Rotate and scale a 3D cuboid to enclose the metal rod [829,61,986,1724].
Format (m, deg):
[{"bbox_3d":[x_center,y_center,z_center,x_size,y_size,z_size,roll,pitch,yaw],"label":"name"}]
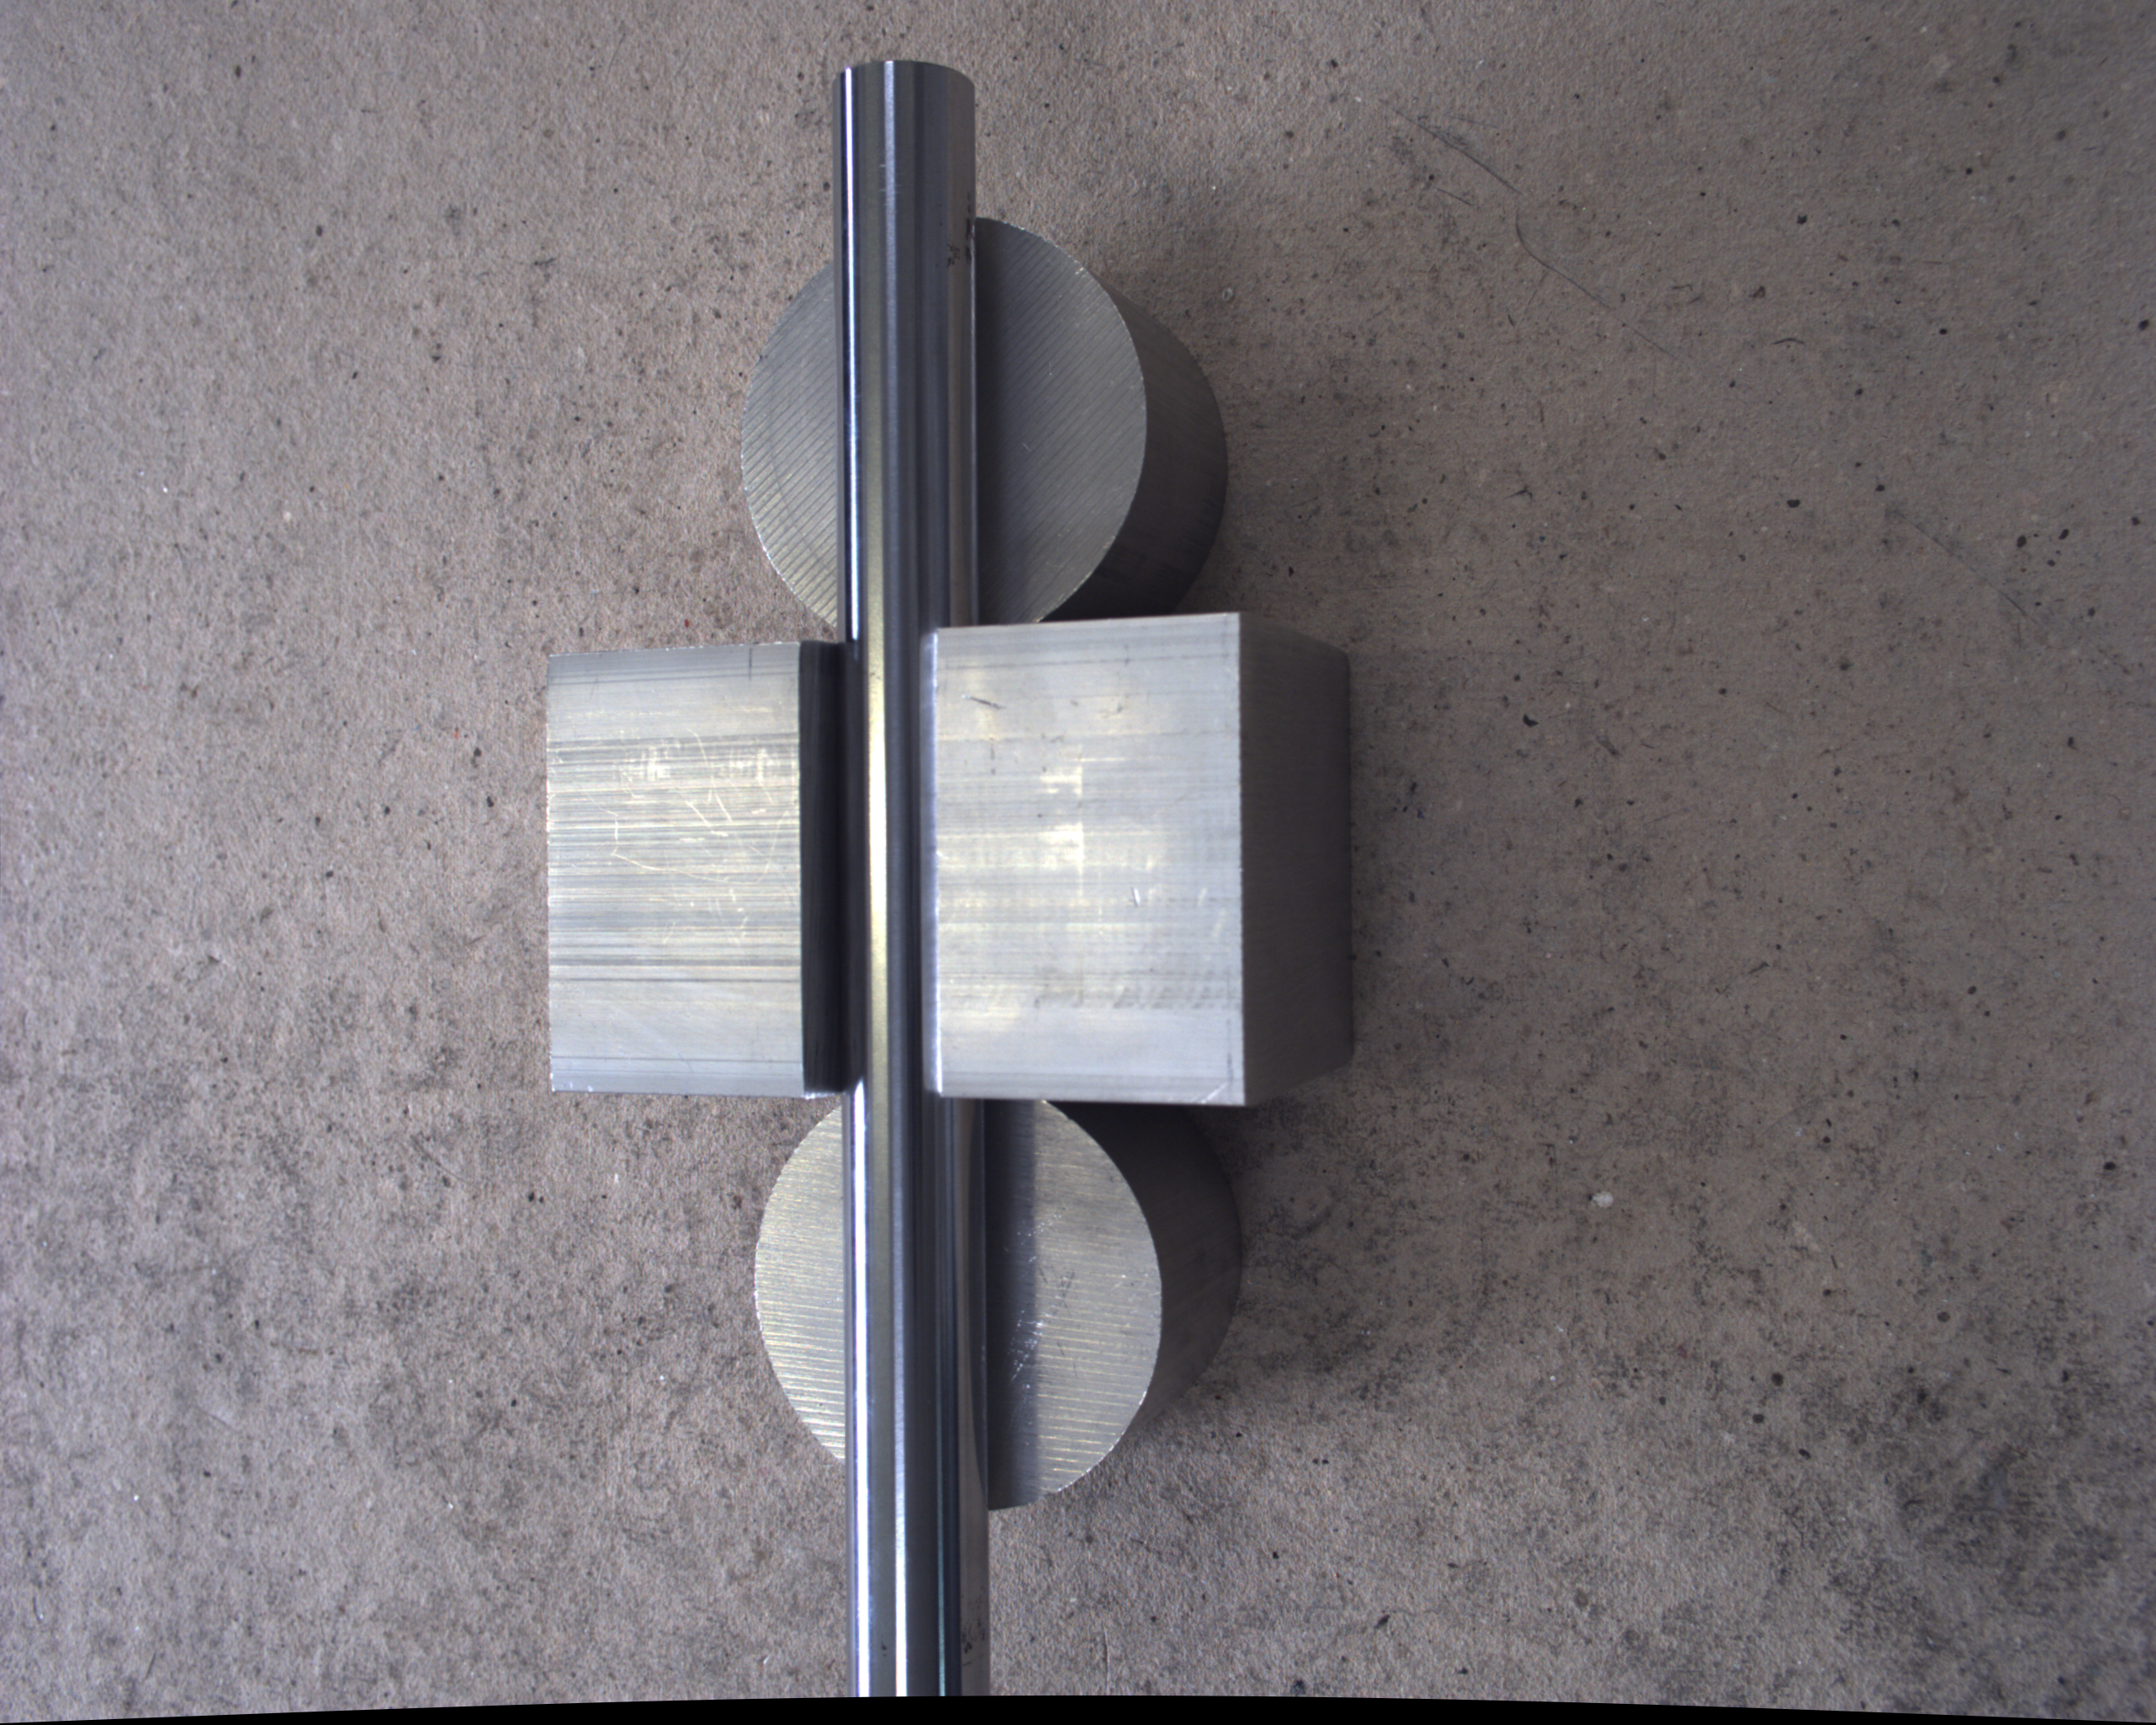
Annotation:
[{"bbox_3d":[-0.030,0.012,0.367,0.025,0.025,0.298,-1,90,20],"label":"metal rod"}]

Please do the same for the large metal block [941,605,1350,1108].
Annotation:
[{"bbox_3d":[0.015,-0.001,0.375,0.050,0.080,0.080,-1,90,20],"label":"large metal block"}]

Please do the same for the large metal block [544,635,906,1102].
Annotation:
[{"bbox_3d":[-0.057,0.001,0.401,0.050,0.080,0.080,-1,90,20],"label":"large metal block"}]

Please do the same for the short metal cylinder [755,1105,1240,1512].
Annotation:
[{"bbox_3d":[-0.014,0.078,0.402,0.080,0.050,0.080,0,89,20],"label":"short metal cylinder"}]

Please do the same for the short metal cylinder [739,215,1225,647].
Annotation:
[{"bbox_3d":[-0.017,-0.078,0.403,0.080,0.050,0.080,0,89,20],"label":"short metal cylinder"}]
